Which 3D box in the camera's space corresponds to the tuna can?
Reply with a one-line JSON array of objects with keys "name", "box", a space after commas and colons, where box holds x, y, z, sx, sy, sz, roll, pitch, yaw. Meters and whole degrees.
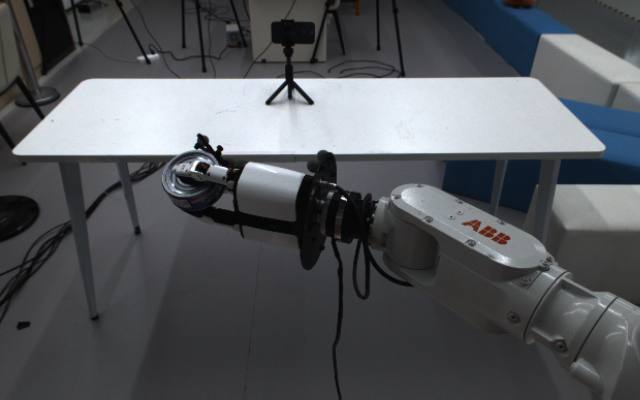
[{"name": "tuna can", "box": [-0.179, -0.029, 0.690, 0.085, 0.034, 0.085, -4, 58, 6]}]
